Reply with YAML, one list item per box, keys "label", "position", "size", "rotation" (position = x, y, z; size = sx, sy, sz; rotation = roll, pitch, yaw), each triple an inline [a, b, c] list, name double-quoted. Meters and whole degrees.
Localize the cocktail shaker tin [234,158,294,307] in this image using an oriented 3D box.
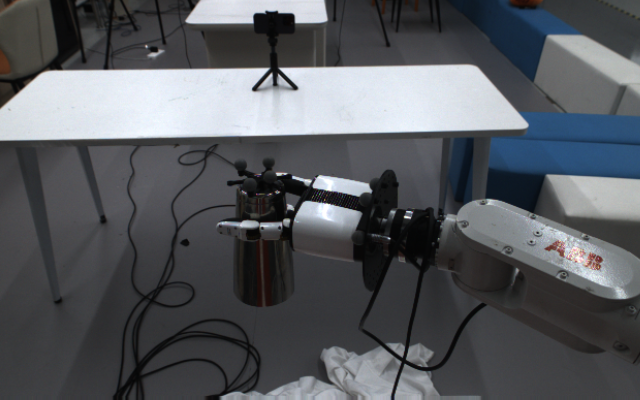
- label: "cocktail shaker tin"
  position: [-0.080, 0.053, 0.695]
  size: [0.093, 0.170, 0.093]
  rotation: [1, 27, -1]
